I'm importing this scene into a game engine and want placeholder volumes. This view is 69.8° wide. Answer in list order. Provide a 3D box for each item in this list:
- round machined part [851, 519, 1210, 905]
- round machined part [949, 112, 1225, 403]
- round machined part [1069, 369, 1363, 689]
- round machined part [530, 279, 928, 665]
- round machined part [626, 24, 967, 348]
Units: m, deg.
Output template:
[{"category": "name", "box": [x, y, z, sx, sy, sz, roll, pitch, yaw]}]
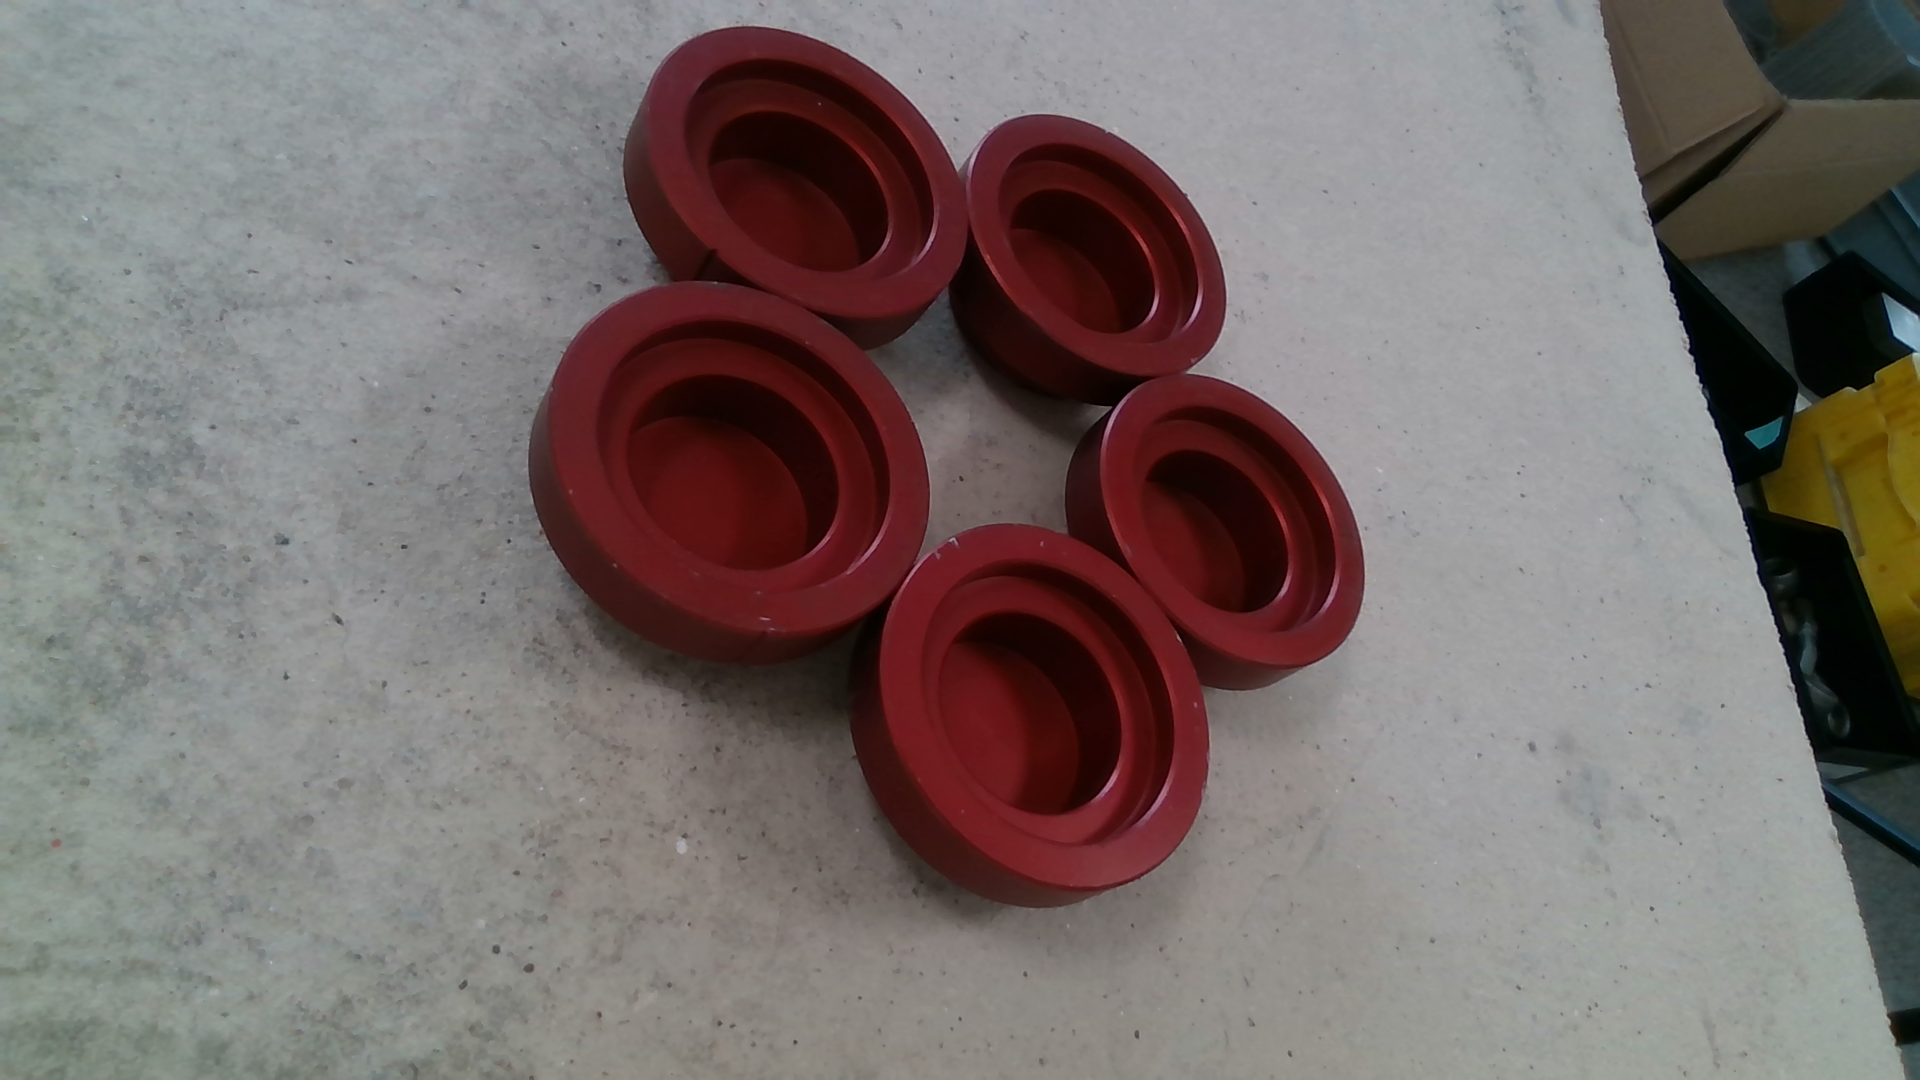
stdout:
[{"category": "round machined part", "box": [0.015, 0.047, 0.365, 0.098, 0.042, 0.098, 15, 60, -26]}, {"category": "round machined part", "box": [0.035, -0.087, 0.451, 0.098, 0.042, 0.098, 15, 59, -26]}, {"category": "round machined part", "box": [0.074, 0.000, 0.427, 0.098, 0.042, 0.098, 15, 60, -26]}, {"category": "round machined part", "box": [-0.061, -0.014, 0.353, 0.098, 0.042, 0.098, 14, 60, -26]}, {"category": "round machined part", "box": [-0.050, -0.097, 0.403, 0.098, 0.042, 0.098, 15, 60, -26]}]
